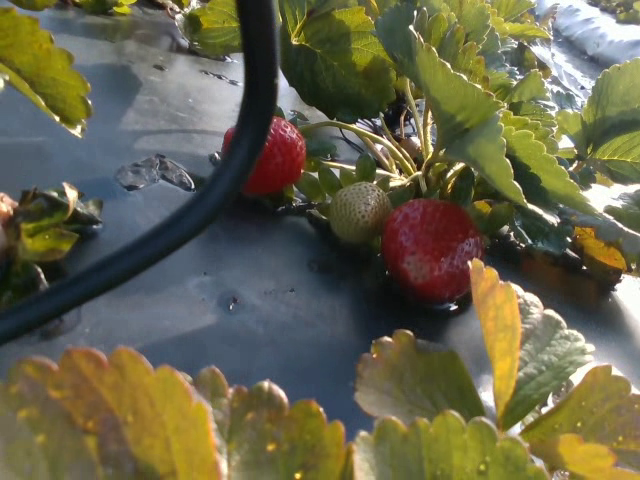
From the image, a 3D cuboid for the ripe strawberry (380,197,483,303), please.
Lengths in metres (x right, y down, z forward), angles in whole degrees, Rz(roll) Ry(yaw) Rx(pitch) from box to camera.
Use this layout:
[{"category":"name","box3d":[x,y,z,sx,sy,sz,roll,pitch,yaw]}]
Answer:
[{"category":"ripe strawberry","box3d":[0.045,0.005,0.258,0.048,0.050,0.065,-13,23,29]}]
